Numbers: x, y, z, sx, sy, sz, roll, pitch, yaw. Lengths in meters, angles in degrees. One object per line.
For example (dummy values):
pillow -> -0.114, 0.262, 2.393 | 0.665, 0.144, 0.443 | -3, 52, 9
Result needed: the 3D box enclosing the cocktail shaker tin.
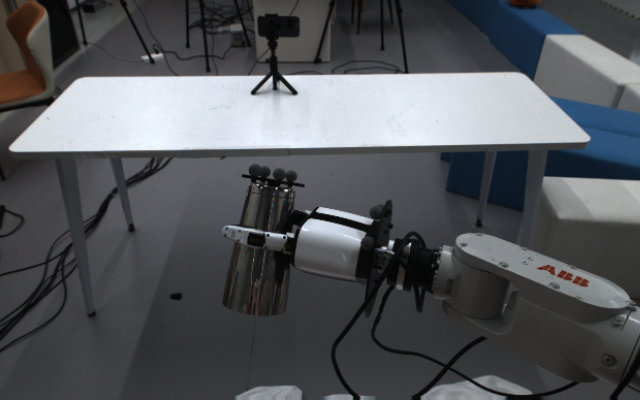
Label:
cocktail shaker tin -> -0.079, 0.065, 0.679 | 0.093, 0.170, 0.093 | 9, 3, 0
